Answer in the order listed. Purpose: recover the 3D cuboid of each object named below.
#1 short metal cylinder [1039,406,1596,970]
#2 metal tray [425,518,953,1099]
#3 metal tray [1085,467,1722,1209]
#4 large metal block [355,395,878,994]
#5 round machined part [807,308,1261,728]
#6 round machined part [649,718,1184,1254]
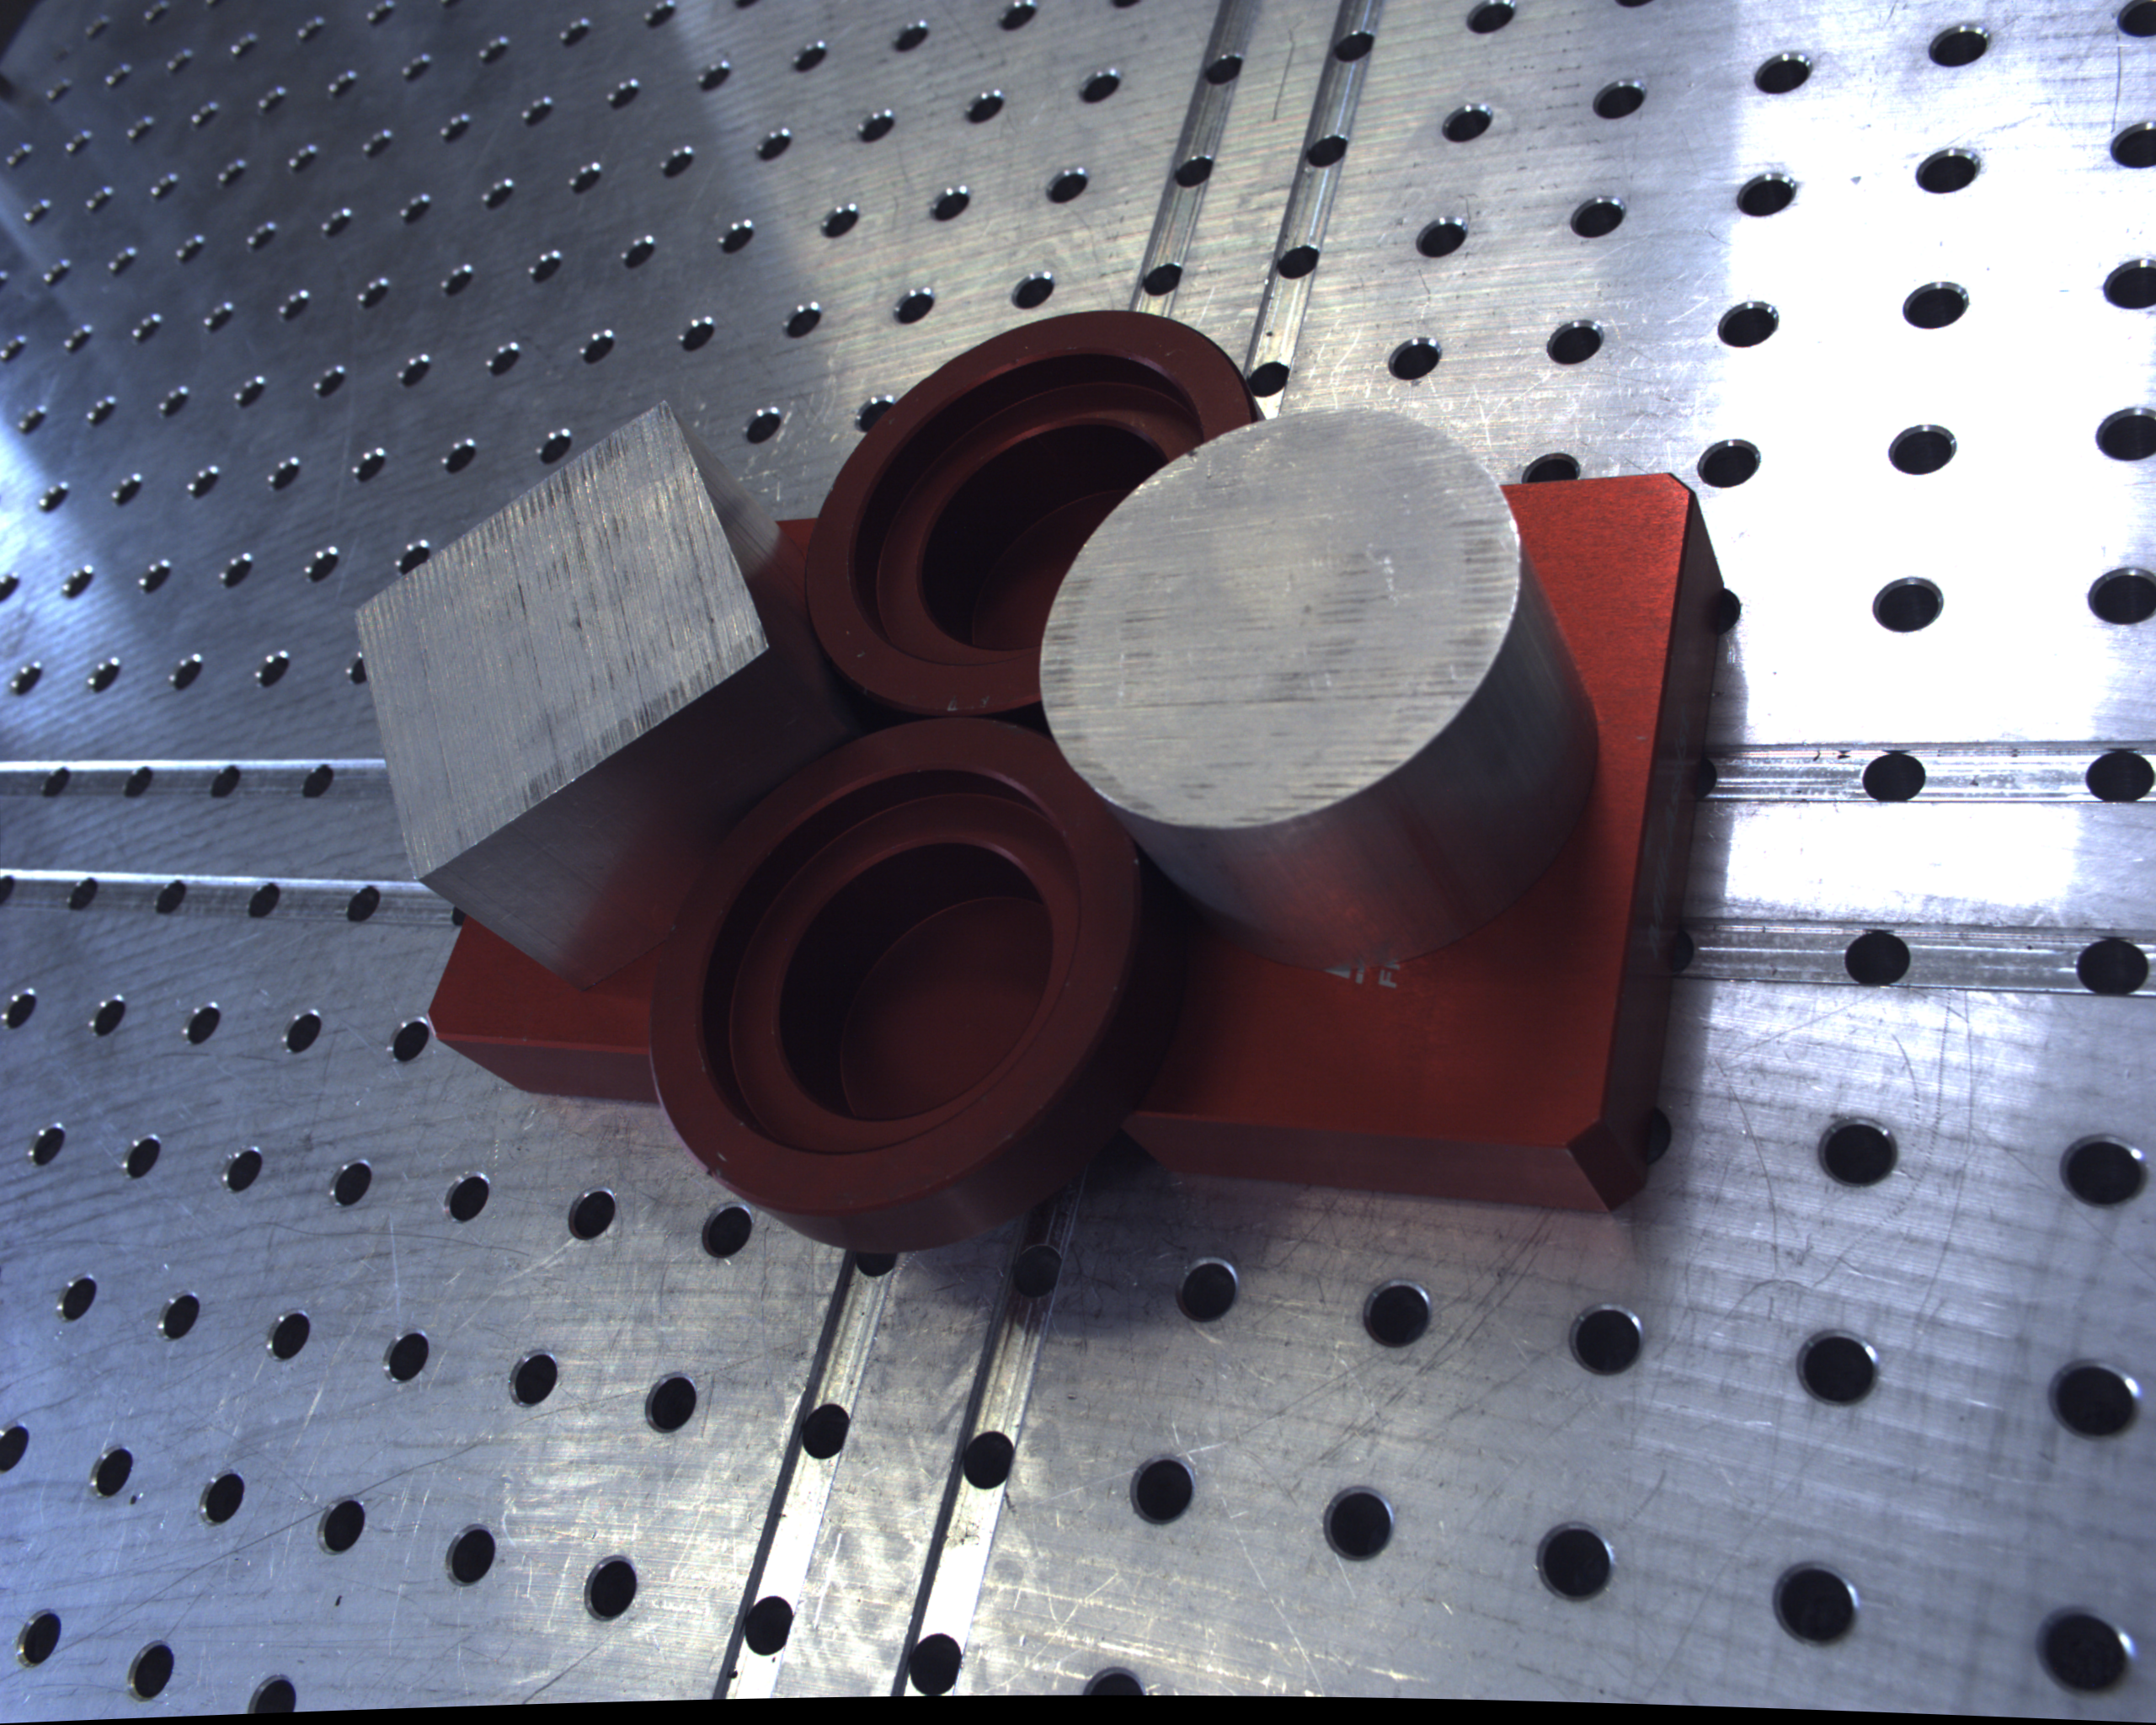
[{"bbox_3d":[0.041,-0.029,0.349,0.080,0.050,0.080,-13,56,21],"label":"short metal cylinder"},{"bbox_3d":[-0.077,-0.014,0.454,0.090,0.030,0.130,1,62,27],"label":"metal tray"},{"bbox_3d":[0.061,-0.008,0.375,0.090,0.030,0.130,1,62,28],"label":"metal tray"},{"bbox_3d":[-0.092,-0.034,0.423,0.080,0.050,0.080,-32,52,7],"label":"large metal block"},{"bbox_3d":[-0.002,-0.061,0.424,0.098,0.042,0.098,-13,56,21],"label":"round machined part"},{"bbox_3d":[-0.026,0.025,0.384,0.098,0.042,0.098,-13,56,21],"label":"round machined part"}]
